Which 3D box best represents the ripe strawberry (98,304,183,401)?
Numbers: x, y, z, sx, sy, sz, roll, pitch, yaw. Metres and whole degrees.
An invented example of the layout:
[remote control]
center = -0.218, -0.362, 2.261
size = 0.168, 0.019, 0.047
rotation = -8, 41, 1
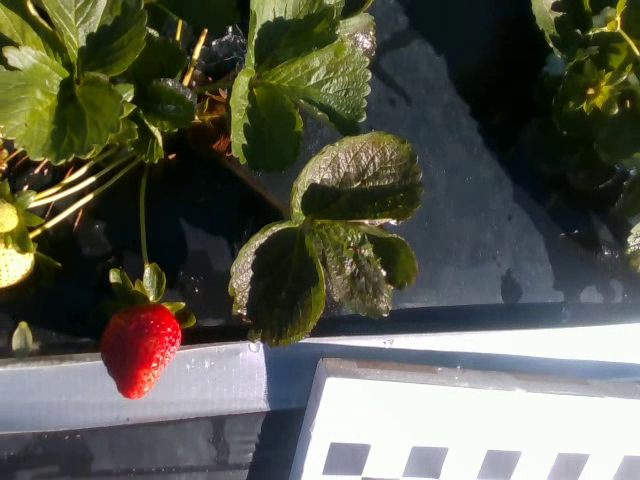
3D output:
[ripe strawberry]
center = -0.072, 0.047, 0.219
size = 0.036, 0.038, 0.045
rotation = 7, 37, -9
